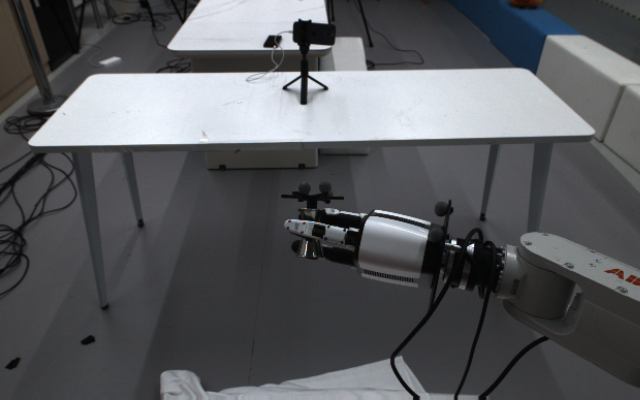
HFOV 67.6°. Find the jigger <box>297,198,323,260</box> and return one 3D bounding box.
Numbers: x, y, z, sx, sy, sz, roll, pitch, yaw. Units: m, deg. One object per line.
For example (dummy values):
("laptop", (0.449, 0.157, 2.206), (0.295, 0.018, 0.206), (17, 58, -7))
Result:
("jigger", (-0.013, 0.047, 0.685), (0.043, 0.071, 0.043), (1, -6, 0))
